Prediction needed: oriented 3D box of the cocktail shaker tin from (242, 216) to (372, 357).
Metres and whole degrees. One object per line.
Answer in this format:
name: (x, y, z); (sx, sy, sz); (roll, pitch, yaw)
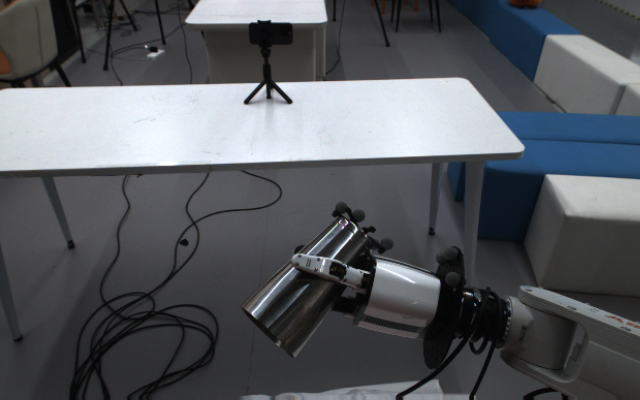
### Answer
cocktail shaker tin: (-0.008, 0.100, 0.619); (0.093, 0.093, 0.170); (31, 67, 35)
